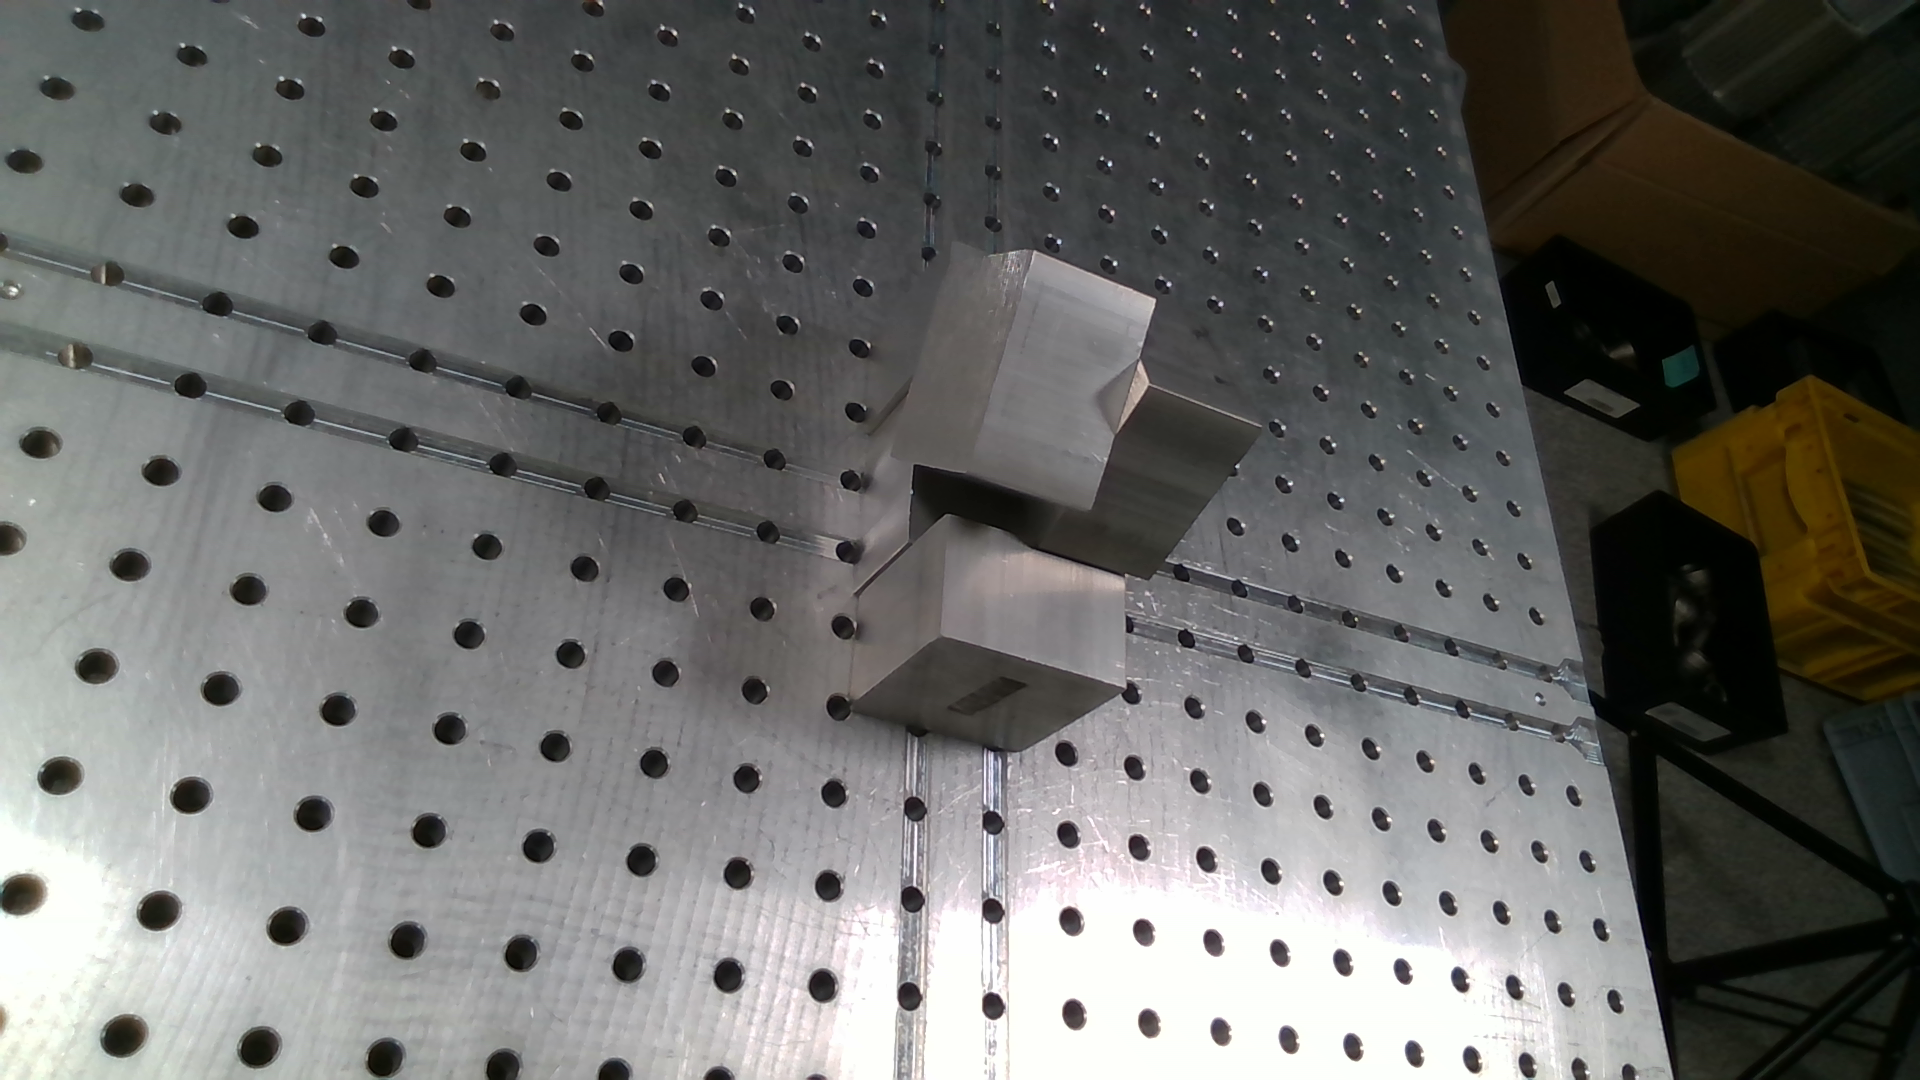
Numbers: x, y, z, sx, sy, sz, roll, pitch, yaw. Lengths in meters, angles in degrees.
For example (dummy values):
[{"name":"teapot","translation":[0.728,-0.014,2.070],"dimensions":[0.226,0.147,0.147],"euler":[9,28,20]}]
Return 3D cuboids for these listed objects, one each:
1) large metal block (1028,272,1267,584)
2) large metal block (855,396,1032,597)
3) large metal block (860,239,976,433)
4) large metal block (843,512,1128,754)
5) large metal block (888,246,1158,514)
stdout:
[{"name":"large metal block","translation":[0.064,-0.044,0.534],"dimensions":[0.050,0.080,0.080],"euler":[17,35,-24]},{"name":"large metal block","translation":[0.006,-0.011,0.580],"dimensions":[0.080,0.050,0.080],"euler":[17,58,-23]},{"name":"large metal block","translation":[0.011,-0.075,0.601],"dimensions":[0.080,0.080,0.050],"euler":[16,58,-24]},{"name":"large metal block","translation":[0.010,0.039,0.538],"dimensions":[0.080,0.080,0.050],"euler":[18,57,-23]},{"name":"large metal block","translation":[0.021,-0.059,0.512],"dimensions":[0.050,0.080,0.080],"euler":[17,90,-24]}]
